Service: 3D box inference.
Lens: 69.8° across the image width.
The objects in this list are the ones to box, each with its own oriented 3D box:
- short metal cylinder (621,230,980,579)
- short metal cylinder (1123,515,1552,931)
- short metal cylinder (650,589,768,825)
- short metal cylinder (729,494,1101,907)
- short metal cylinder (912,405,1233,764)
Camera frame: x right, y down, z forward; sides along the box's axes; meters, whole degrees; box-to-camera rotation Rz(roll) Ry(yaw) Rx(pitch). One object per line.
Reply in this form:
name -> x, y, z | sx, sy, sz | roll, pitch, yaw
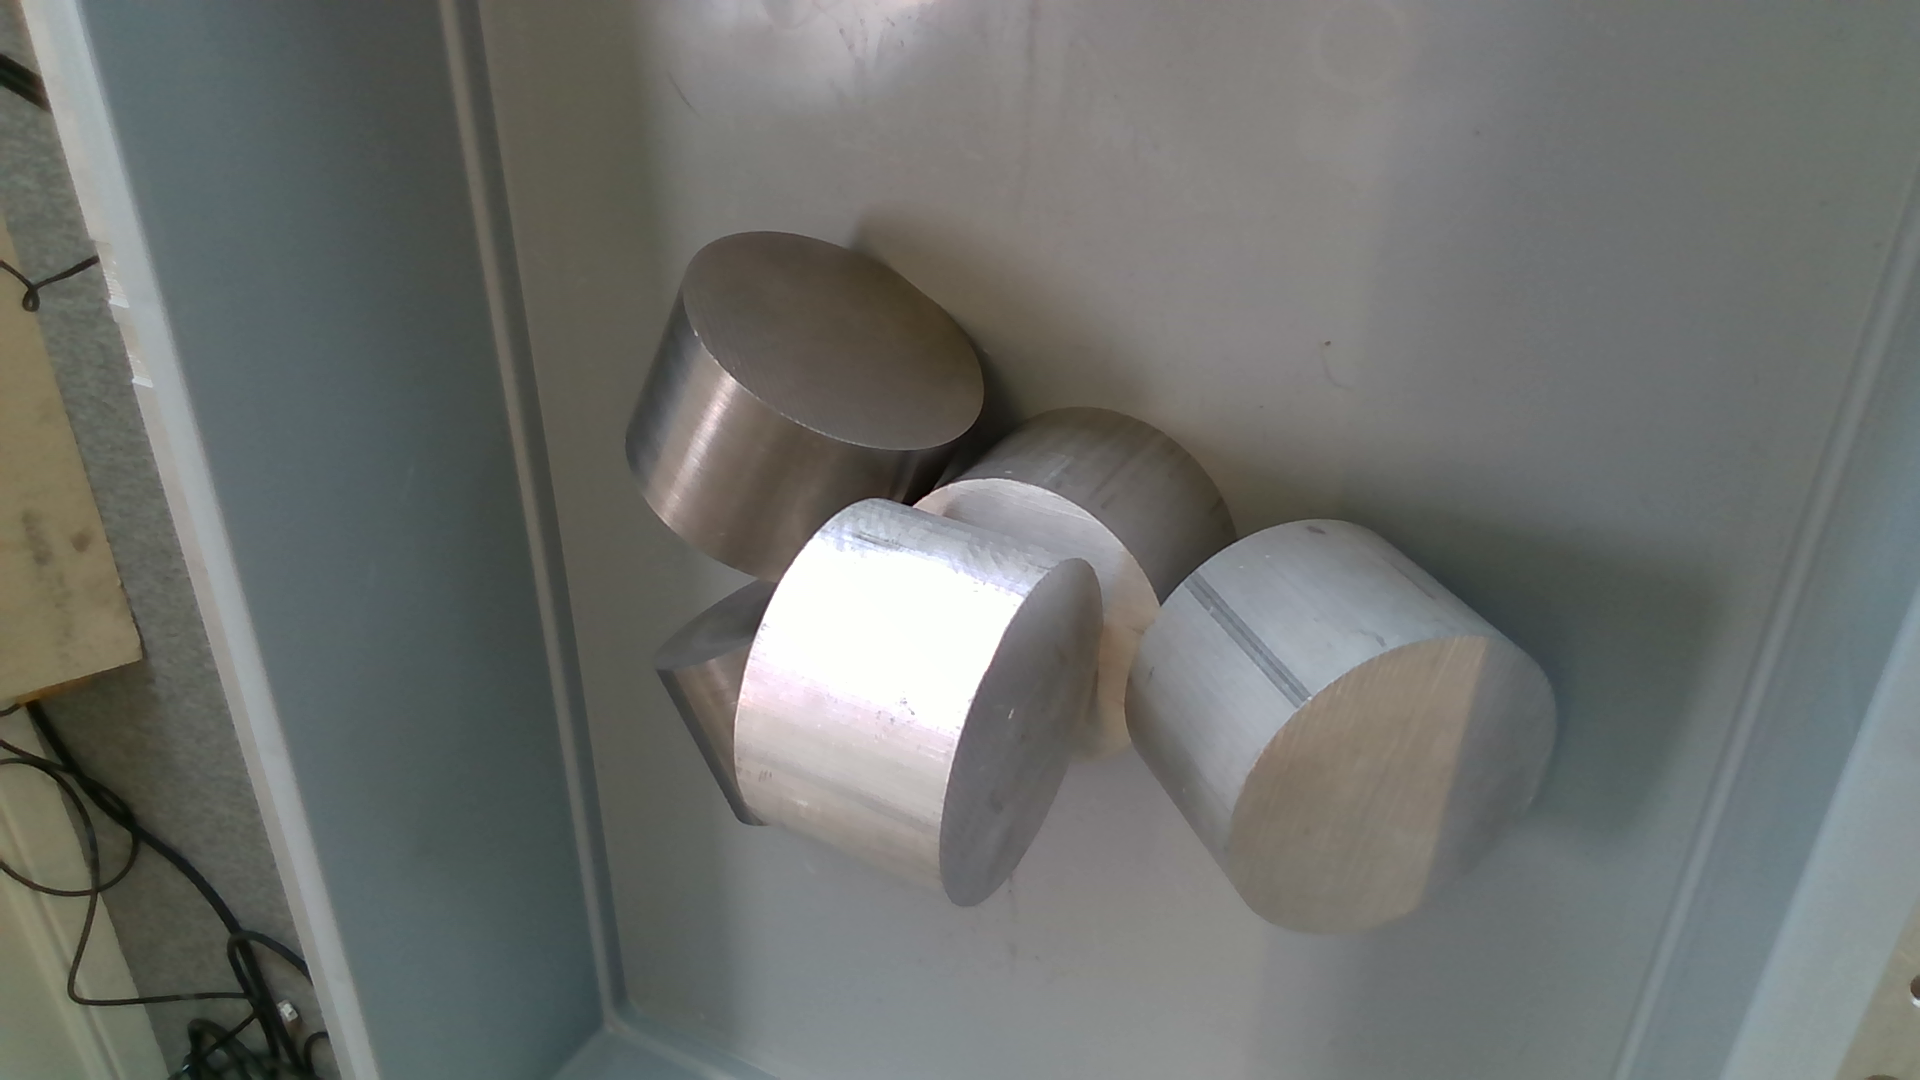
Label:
short metal cylinder -> -0.042, -0.035, 0.358 | 0.080, 0.080, 0.050 | 39, 128, 8
short metal cylinder -> 0.084, 0.041, 0.315 | 0.050, 0.080, 0.080 | -123, 31, -54
short metal cylinder -> -0.042, 0.038, 0.399 | 0.080, 0.080, 0.050 | -16, 105, 37
short metal cylinder -> -0.008, 0.035, 0.310 | 0.050, 0.080, 0.080 | 17, 123, 23
short metal cylinder -> 0.026, 0.011, 0.360 | 0.080, 0.050, 0.080 | 15, 122, 25
